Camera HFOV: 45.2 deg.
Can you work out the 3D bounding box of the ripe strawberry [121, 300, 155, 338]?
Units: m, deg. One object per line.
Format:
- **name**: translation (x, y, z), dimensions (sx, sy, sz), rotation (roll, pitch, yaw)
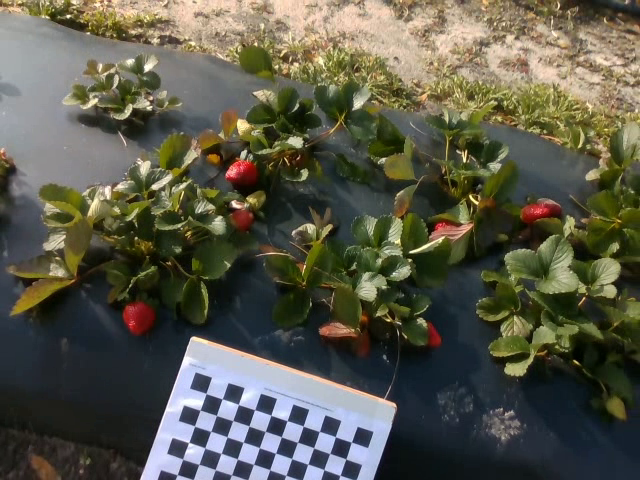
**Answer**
- **ripe strawberry**: translation (-0.200, 0.089, 0.852), dimensions (0.041, 0.041, 0.047), rotation (-11, 32, 5)
